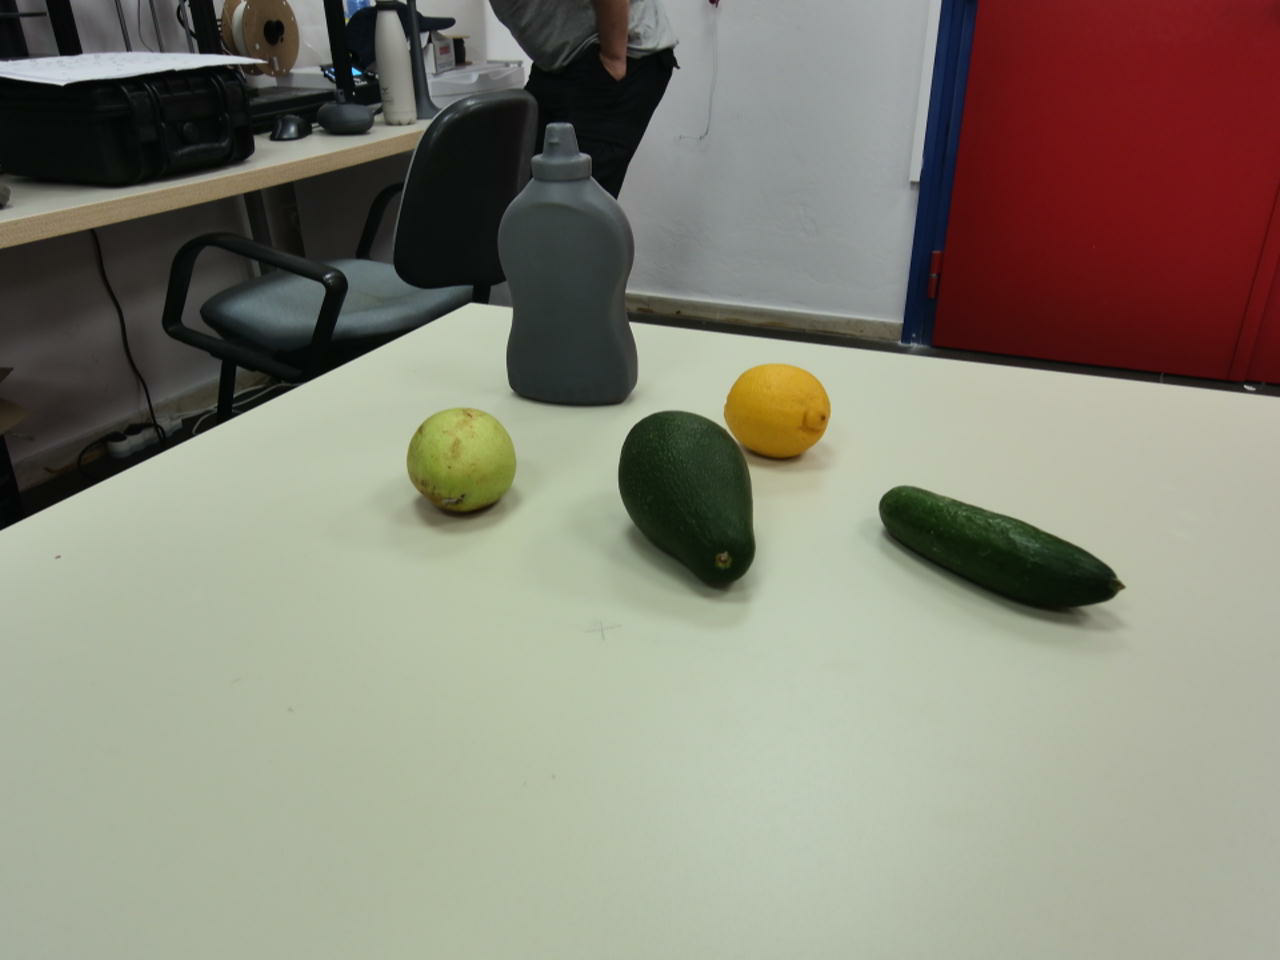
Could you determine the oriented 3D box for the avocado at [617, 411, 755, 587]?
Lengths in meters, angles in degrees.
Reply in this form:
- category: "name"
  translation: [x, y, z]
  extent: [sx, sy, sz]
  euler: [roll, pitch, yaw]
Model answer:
- category: "avocado"
  translation: [0.023, 0.006, 0.527]
  extent: [0.072, 0.071, 0.109]
  euler: [1, 25, 2]
